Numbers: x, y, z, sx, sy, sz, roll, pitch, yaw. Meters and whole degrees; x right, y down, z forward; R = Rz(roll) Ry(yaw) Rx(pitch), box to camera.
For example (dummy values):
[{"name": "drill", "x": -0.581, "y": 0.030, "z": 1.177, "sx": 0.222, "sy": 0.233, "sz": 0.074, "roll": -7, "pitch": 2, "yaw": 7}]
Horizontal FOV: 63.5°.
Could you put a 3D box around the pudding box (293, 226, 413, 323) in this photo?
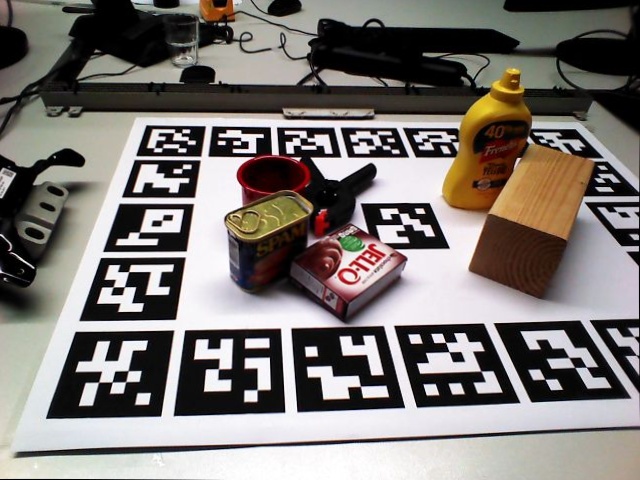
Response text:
[{"name": "pudding box", "x": 0.039, "y": 0.034, "z": 0.598, "sx": 0.113, "sy": 0.039, "sz": 0.090, "roll": -30, "pitch": 51, "yaw": -35}]

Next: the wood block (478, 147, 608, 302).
[{"name": "wood block", "x": 0.285, "y": -0.028, "z": 0.655, "sx": 0.090, "sy": 0.091, "sz": 0.204, "roll": 23, "pitch": 42, "yaw": 24}]

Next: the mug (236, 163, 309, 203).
[{"name": "mug", "x": -0.058, "y": -0.049, "z": 0.687, "sx": 0.093, "sy": 0.082, "sz": 0.116, "roll": 14, "pitch": 43, "yaw": 11}]

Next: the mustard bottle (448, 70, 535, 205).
[{"name": "mustard bottle", "x": 0.238, "y": -0.137, "z": 0.693, "sx": 0.096, "sy": 0.192, "sz": 0.058, "roll": -4, "pitch": 42, "yaw": -9}]

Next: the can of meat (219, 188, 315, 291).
[{"name": "can of meat", "x": -0.059, "y": 0.000, "z": 0.587, "sx": 0.101, "sy": 0.084, "sz": 0.058, "roll": -23, "pitch": 49, "yaw": -28}]

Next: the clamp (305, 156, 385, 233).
[{"name": "clamp", "x": 0.021, "y": -0.072, "z": 0.727, "sx": 0.122, "sy": 0.037, "sz": 0.164, "roll": 13, "pitch": 43, "yaw": 8}]
